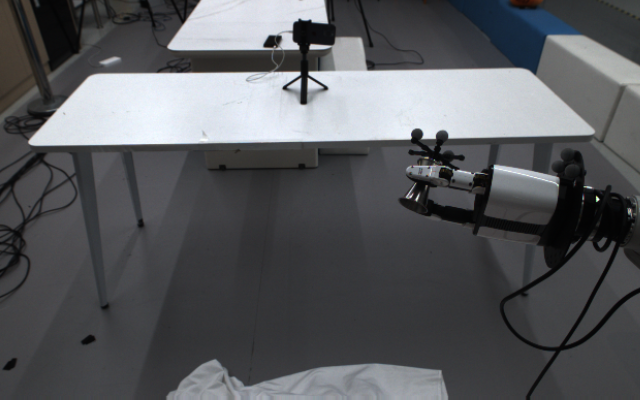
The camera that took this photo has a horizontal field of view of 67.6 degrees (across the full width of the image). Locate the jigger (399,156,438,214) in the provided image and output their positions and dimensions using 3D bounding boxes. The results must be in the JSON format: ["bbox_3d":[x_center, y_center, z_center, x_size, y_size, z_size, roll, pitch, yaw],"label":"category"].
[{"bbox_3d":[0.143,-0.024,0.681,0.043,0.043,0.071,20,73,24],"label":"jigger"}]
